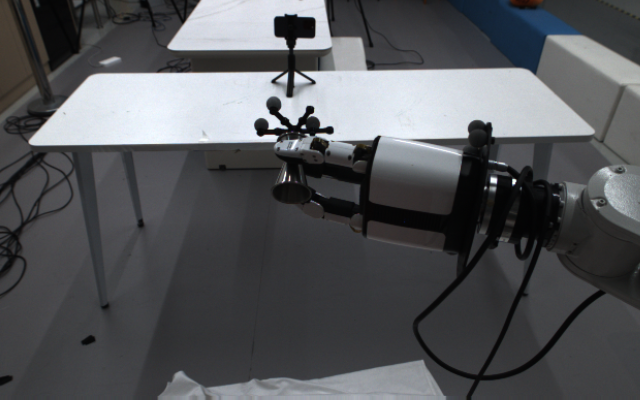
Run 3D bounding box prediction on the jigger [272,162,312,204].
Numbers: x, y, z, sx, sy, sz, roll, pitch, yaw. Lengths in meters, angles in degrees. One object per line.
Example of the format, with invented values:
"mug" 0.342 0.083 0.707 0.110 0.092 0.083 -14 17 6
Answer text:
"jigger" -0.029 -0.038 0.527 0.043 0.043 0.071 2 59 -1
